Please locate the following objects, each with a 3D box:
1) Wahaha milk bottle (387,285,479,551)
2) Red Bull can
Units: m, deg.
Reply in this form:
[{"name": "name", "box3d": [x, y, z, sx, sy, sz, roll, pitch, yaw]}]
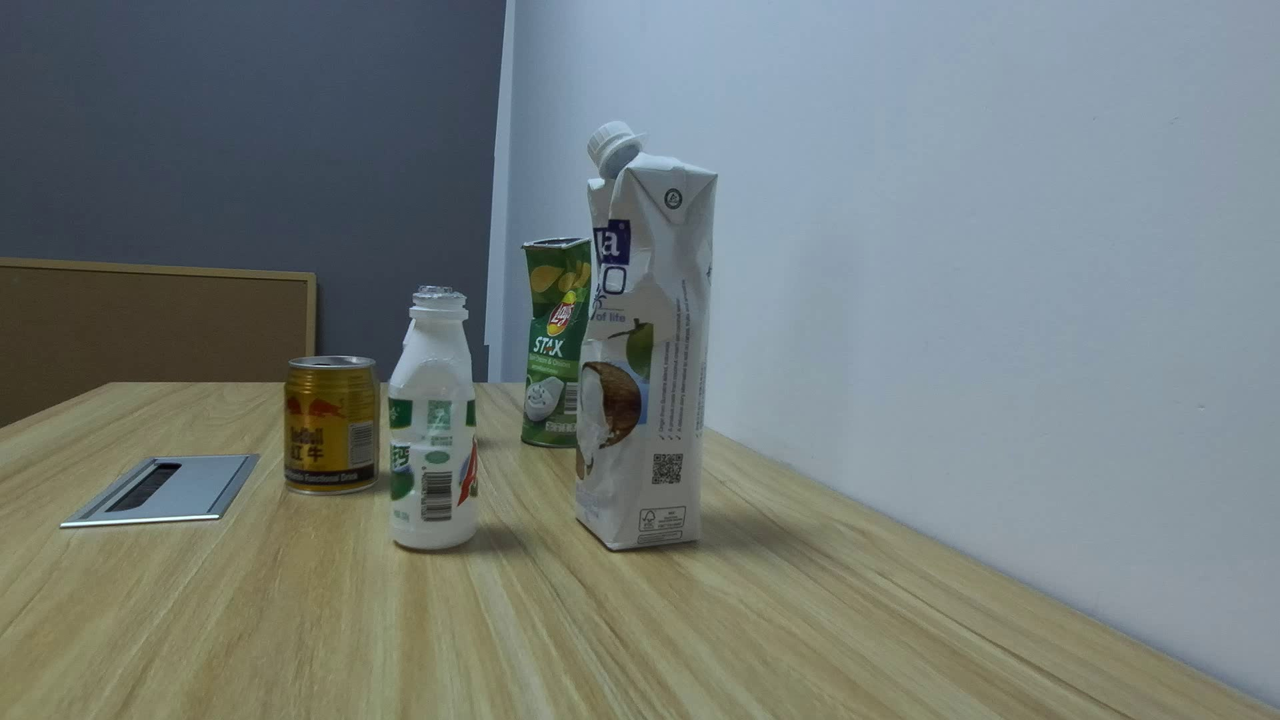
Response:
[{"name": "Wahaha milk bottle", "box3d": [-0.124, 0.035, 0.425, 0.055, 0.149, 0.055, 1, 6, 0]}, {"name": "Red Bull can", "box3d": [-0.230, 0.047, 0.528, 0.067, 0.093, 0.067, 2, 5, 0]}]
